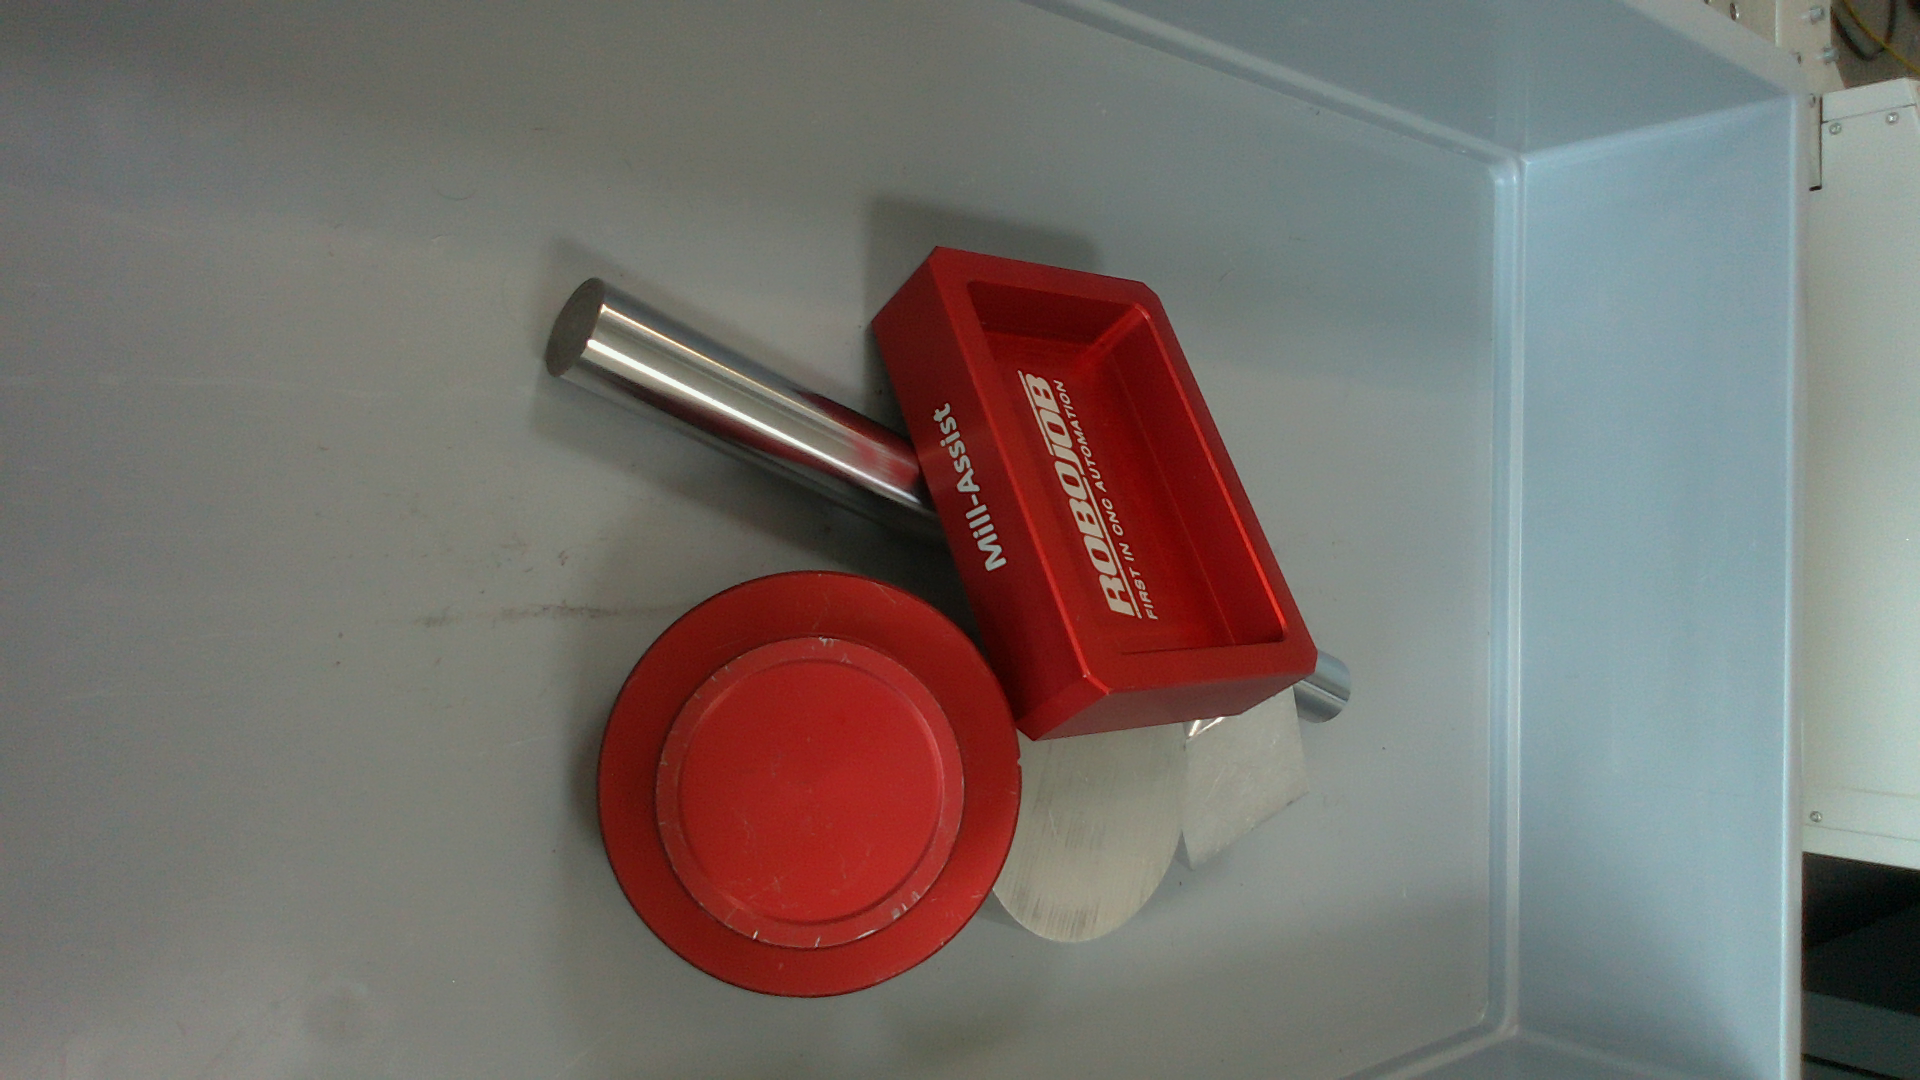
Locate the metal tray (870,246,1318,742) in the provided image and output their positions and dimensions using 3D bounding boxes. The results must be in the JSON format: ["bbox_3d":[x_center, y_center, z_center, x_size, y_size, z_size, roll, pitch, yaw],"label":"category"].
[{"bbox_3d":[0.036,-0.014,0.376,0.090,0.030,0.130,0,61,-40],"label":"metal tray"}]

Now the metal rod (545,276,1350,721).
[{"bbox_3d":[0.021,0.002,0.404,0.301,0.025,0.025,25,74,-37],"label":"metal rod"}]

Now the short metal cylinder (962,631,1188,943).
[{"bbox_3d":[0.018,0.067,0.386,0.080,0.050,0.080,0,90,-40],"label":"short metal cylinder"}]

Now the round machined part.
[{"bbox_3d":[-0.034,0.056,0.317,0.098,0.042,0.098,1,86,-7],"label":"round machined part"}]

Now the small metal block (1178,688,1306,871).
[{"bbox_3d":[0.081,0.069,0.440,0.050,0.025,0.050,-29,125,-19],"label":"small metal block"}]
